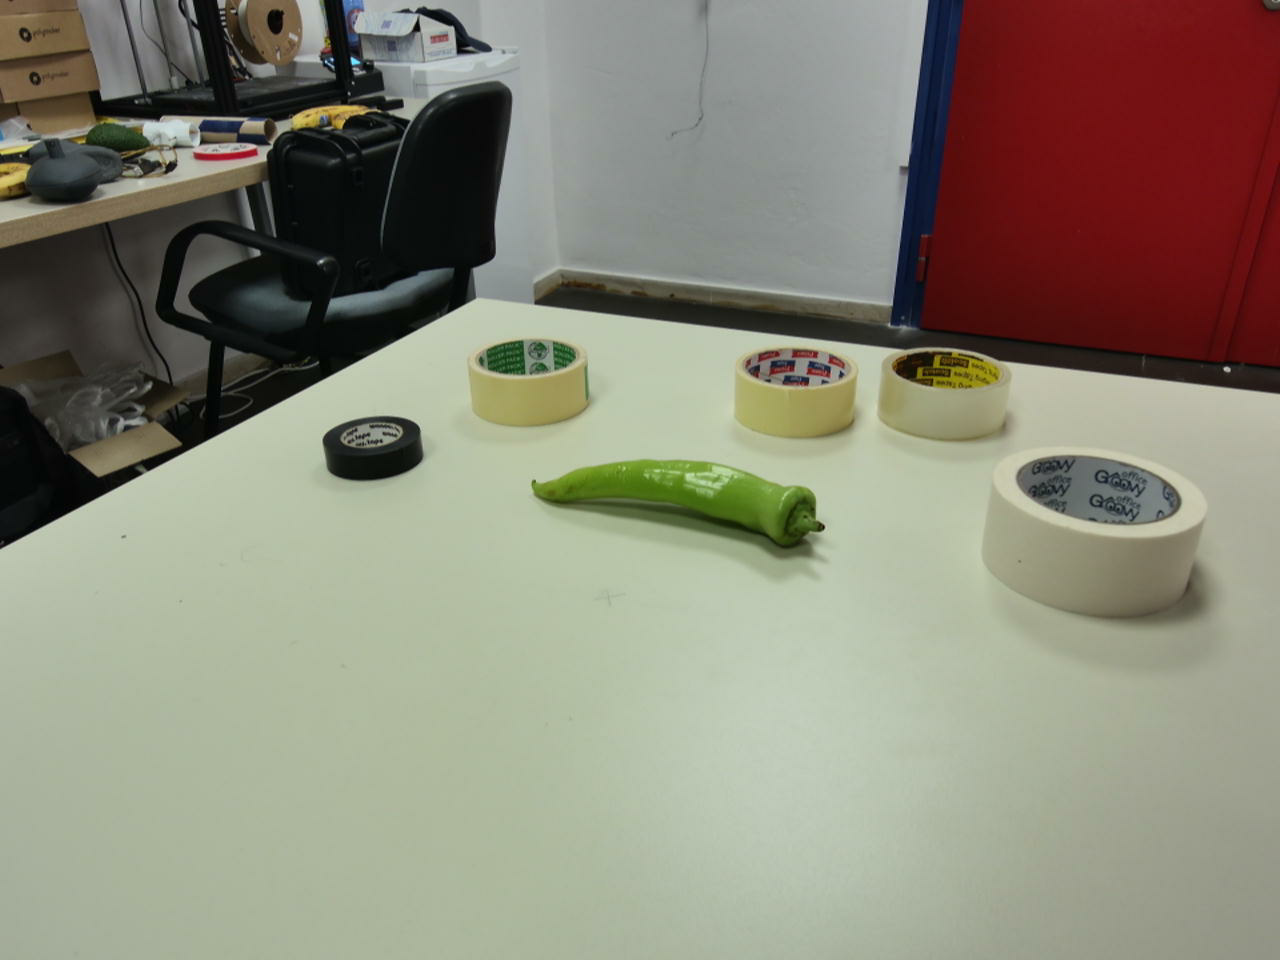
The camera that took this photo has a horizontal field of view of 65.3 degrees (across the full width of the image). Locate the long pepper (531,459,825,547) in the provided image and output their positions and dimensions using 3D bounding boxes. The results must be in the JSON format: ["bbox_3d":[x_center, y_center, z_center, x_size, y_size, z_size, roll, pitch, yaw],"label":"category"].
[{"bbox_3d":[0.022,0.005,0.611,0.197,0.038,0.046,12,28,24],"label":"long pepper"}]
